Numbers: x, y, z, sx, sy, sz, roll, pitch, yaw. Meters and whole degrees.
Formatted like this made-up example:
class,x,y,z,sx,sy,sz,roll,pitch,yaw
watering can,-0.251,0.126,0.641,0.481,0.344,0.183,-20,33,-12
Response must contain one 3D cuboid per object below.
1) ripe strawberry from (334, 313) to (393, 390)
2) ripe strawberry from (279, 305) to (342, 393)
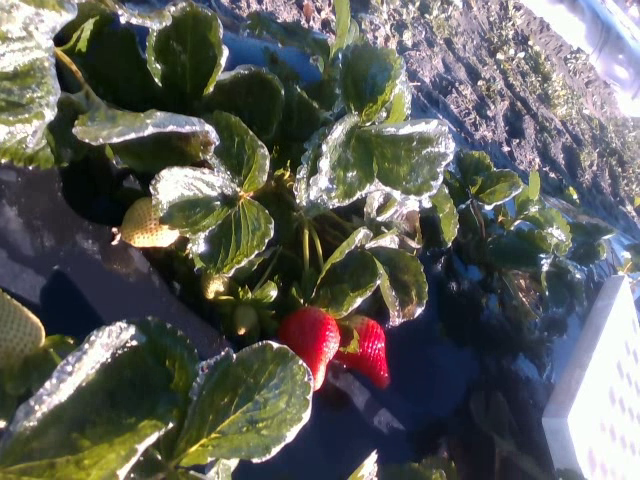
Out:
class,x,y,z,sx,sy,sz,roll,pitch,yaw
ripe strawberry,0.042,0.087,0.460,0.040,0.059,0.043,-17,9,42
ripe strawberry,-0.001,0.083,0.427,0.040,0.070,0.052,-13,-35,31
